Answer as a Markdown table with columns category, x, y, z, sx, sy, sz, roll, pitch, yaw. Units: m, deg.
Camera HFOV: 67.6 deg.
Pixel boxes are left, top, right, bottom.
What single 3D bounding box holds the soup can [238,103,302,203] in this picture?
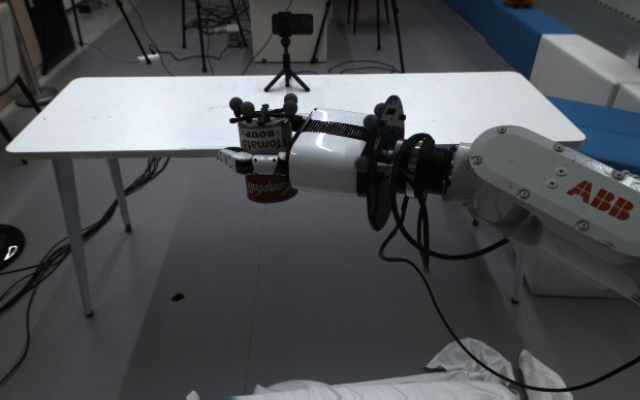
| category | x | y | z | sx | sy | sz | roll | pitch | yaw |
| --- | --- | --- | --- | --- | --- | --- | --- | --- | --- |
| soup can | -0.064 | -0.055 | 0.618 | 0.067 | 0.101 | 0.067 | -4 | 26 | 2 |
